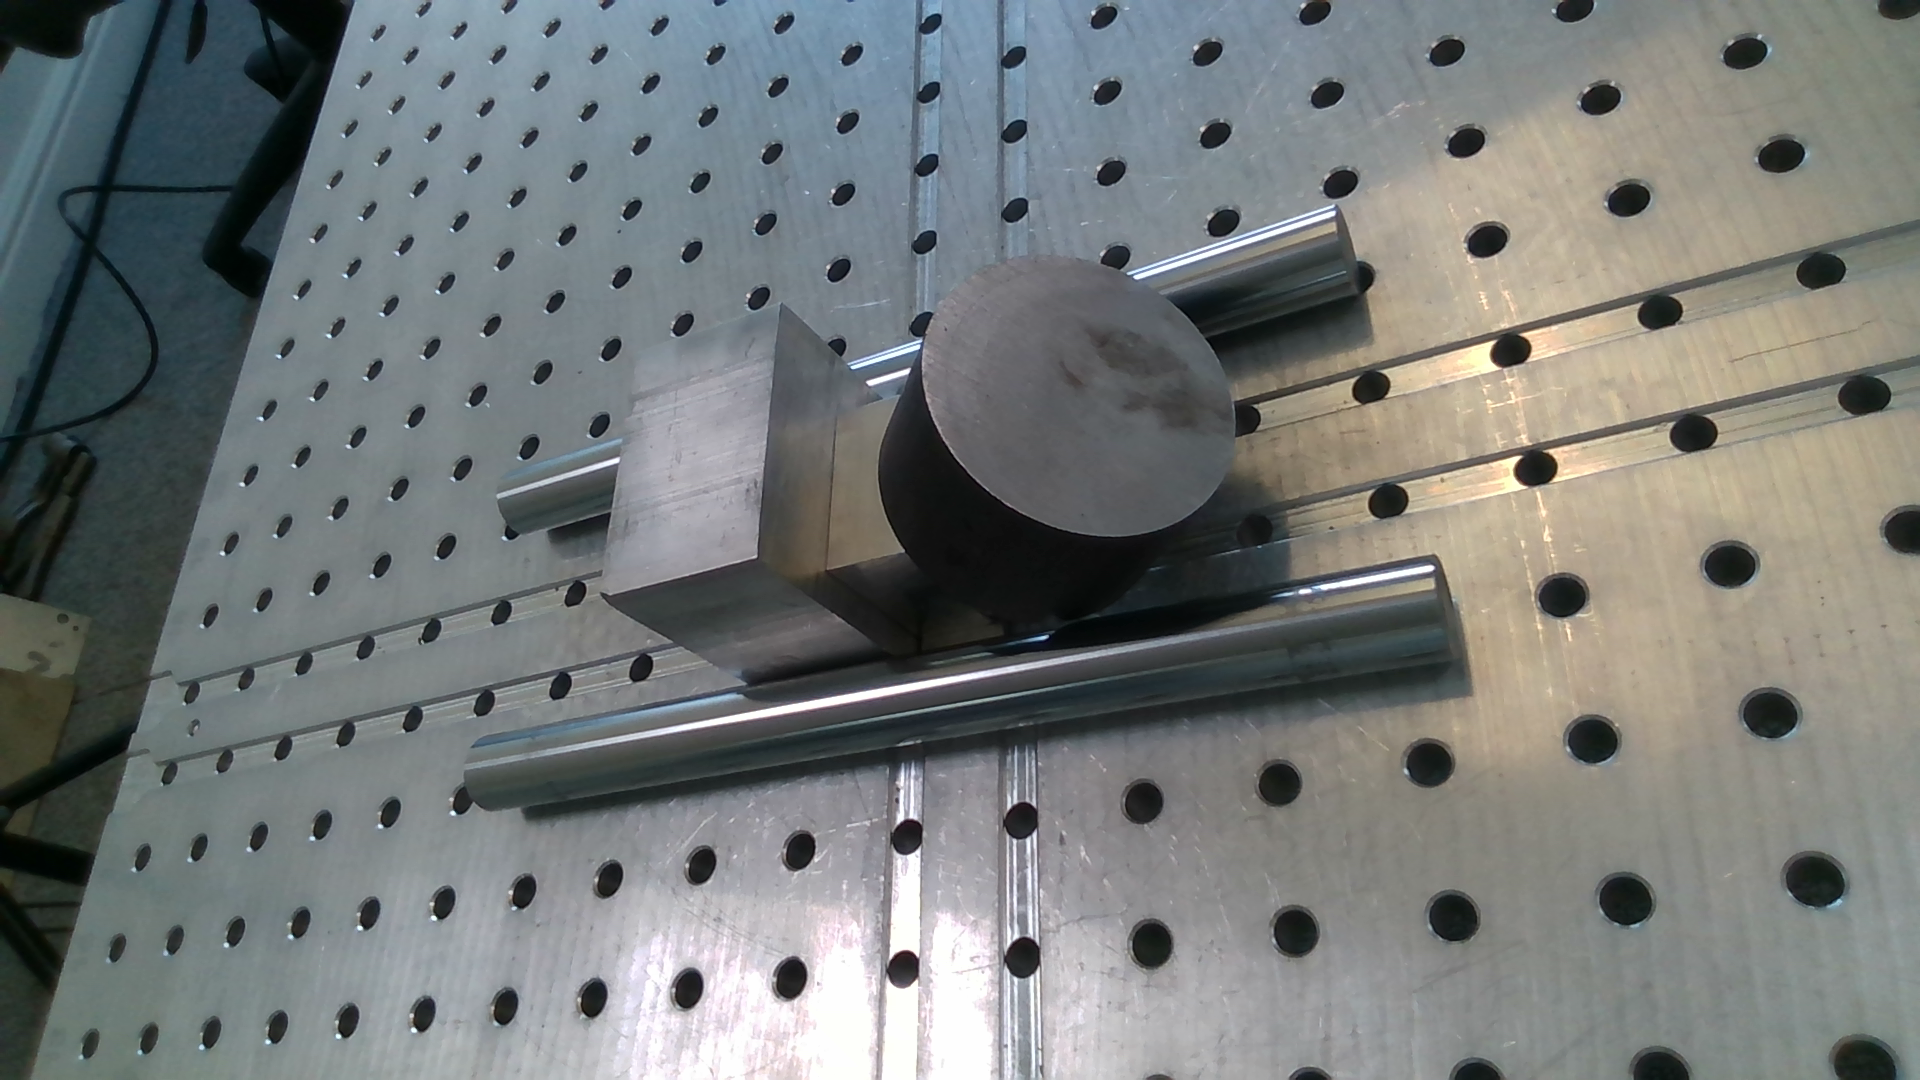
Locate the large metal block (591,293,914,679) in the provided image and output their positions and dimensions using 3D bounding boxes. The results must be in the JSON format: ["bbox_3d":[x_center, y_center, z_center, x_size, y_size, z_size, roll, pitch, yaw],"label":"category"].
[{"bbox_3d":[-0.054,-0.010,0.396,0.050,0.080,0.080,-14,59,25],"label":"large metal block"}]

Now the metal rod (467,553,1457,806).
[{"bbox_3d":[-0.020,0.045,0.384,0.300,0.025,0.025,-13,59,26],"label":"metal rod"}]

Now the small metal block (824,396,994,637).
[{"bbox_3d":[-0.013,-0.006,0.391,0.025,0.050,0.050,-13,60,26],"label":"small metal block"}]

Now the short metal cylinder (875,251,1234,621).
[{"bbox_3d":[0.022,-0.026,0.352,0.080,0.050,0.080,7,62,-14],"label":"short metal cylinder"}]

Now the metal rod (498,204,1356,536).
[{"bbox_3d":[-0.027,-0.046,0.437,0.300,0.025,0.025,-14,59,25],"label":"metal rod"}]
